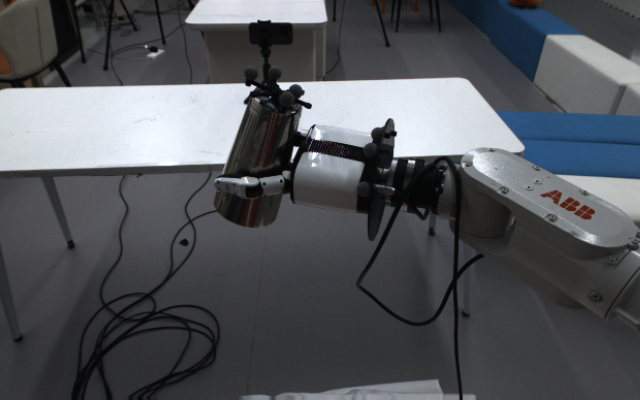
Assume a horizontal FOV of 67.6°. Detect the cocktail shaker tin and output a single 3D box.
[{"bbox_3d":[-0.080,-0.058,0.644,0.093,0.170,0.093,15,31,-10],"label":"cocktail shaker tin"}]
